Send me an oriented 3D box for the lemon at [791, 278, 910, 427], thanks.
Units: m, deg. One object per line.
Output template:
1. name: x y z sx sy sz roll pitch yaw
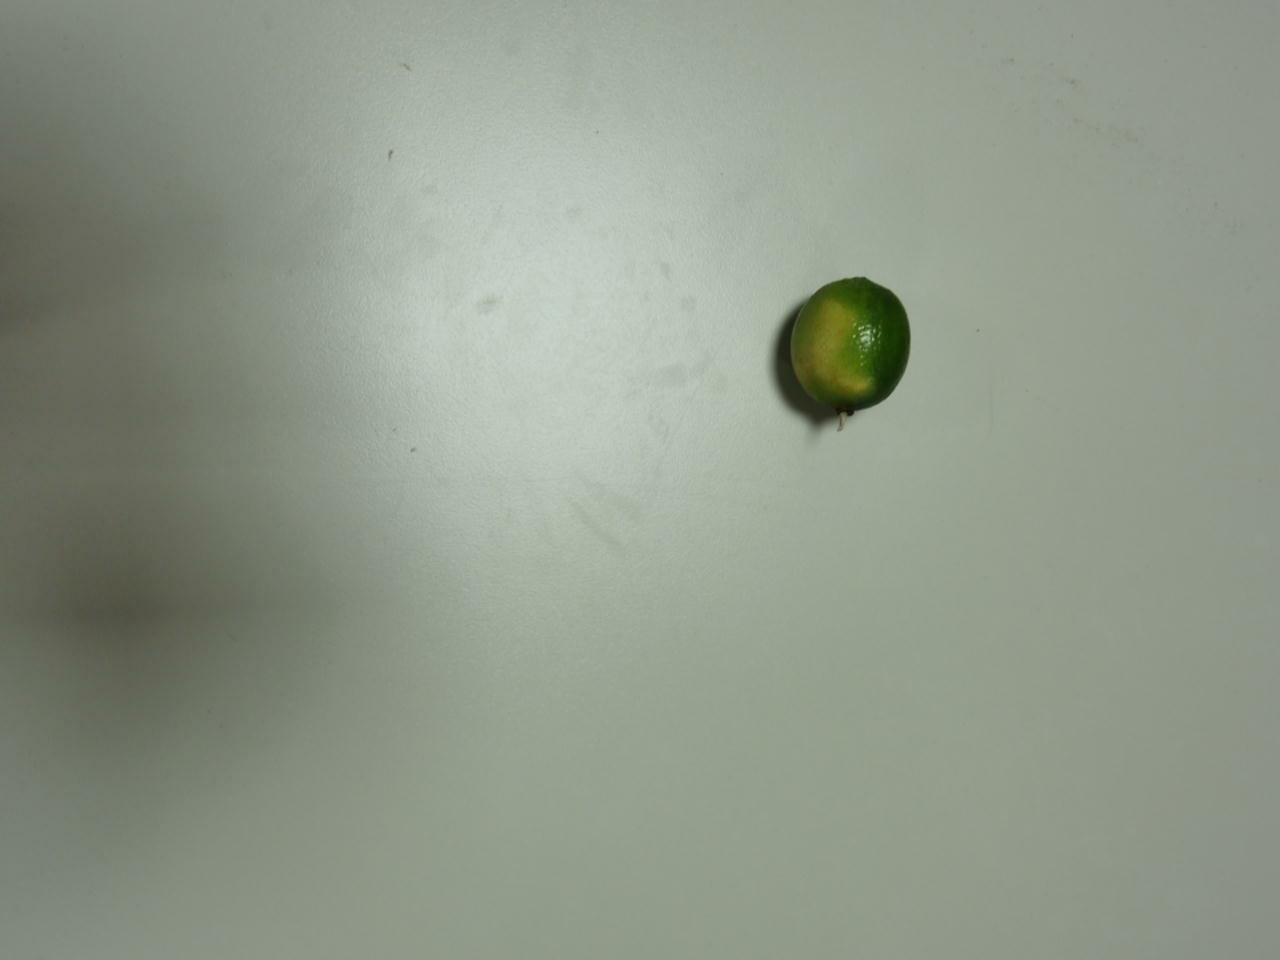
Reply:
1. lemon: 0.092 -0.059 0.435 0.055 0.050 0.054 -40 98 -9
